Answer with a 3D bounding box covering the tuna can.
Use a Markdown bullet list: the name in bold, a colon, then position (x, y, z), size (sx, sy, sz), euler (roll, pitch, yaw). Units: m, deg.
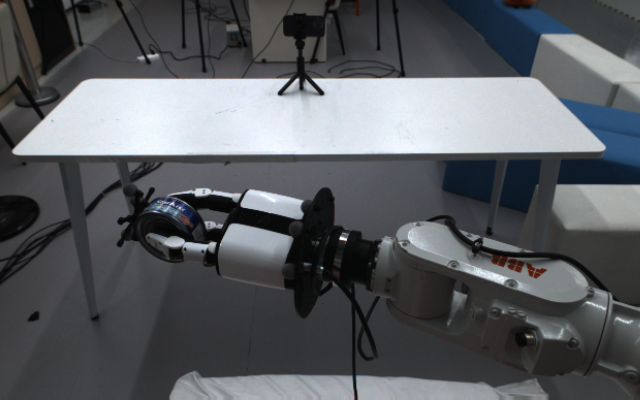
- **tuna can**: position (-0.190, 0.041, 0.621), size (0.085, 0.085, 0.034), euler (8, 36, 9)
